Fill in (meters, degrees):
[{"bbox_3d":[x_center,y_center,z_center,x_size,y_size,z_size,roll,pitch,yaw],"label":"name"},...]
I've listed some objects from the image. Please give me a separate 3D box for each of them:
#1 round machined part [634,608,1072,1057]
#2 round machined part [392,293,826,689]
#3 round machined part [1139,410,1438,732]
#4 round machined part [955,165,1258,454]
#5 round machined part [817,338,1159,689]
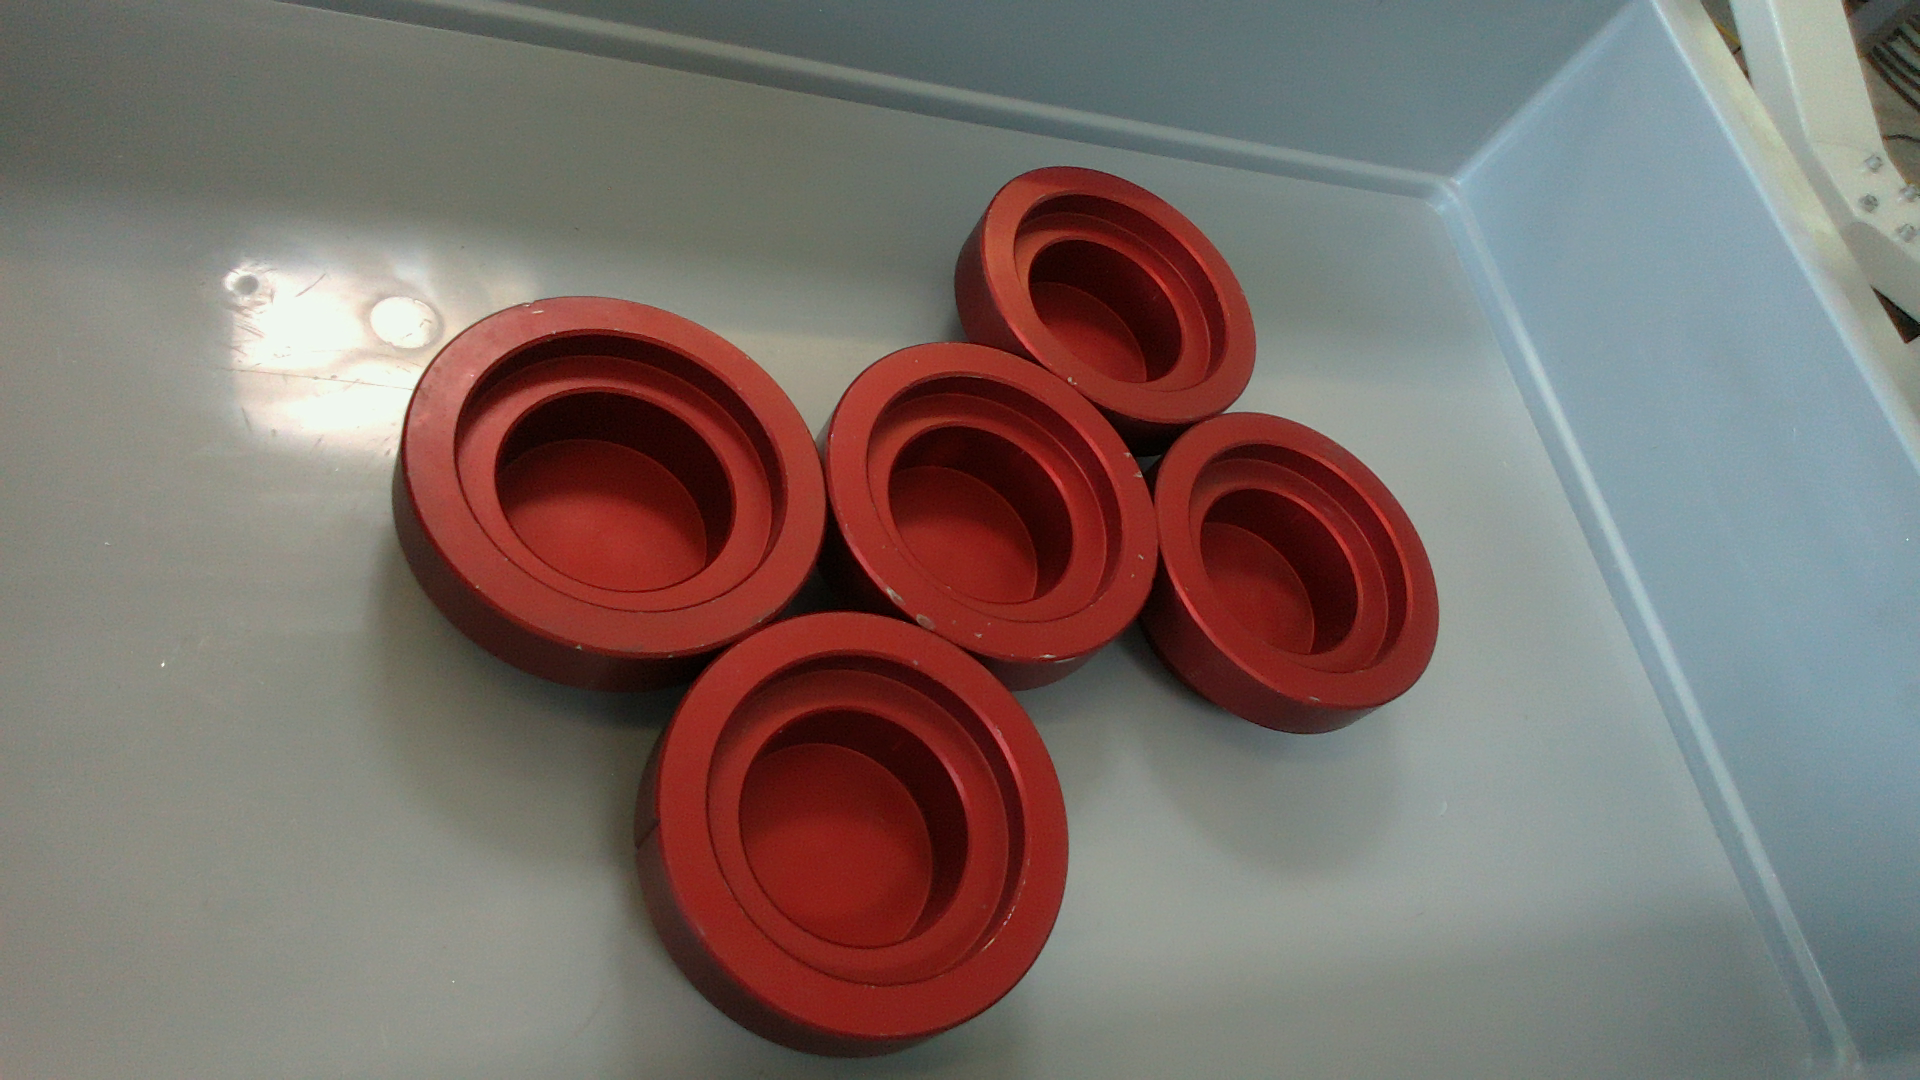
[{"bbox_3d":[-0.027,0.069,0.319,0.098,0.042,0.098,14,56,-21],"label":"round machined part"},{"bbox_3d":[-0.086,-0.008,0.335,0.098,0.042,0.098,14,56,-21],"label":"round machined part"},{"bbox_3d":[0.092,0.013,0.418,0.098,0.042,0.098,14,56,-21],"label":"round machined part"},{"bbox_3d":[0.043,-0.069,0.441,0.098,0.042,0.098,14,56,-21],"label":"round machined part"},{"bbox_3d":[0.002,-0.004,0.378,0.098,0.042,0.098,14,56,-21],"label":"round machined part"}]
